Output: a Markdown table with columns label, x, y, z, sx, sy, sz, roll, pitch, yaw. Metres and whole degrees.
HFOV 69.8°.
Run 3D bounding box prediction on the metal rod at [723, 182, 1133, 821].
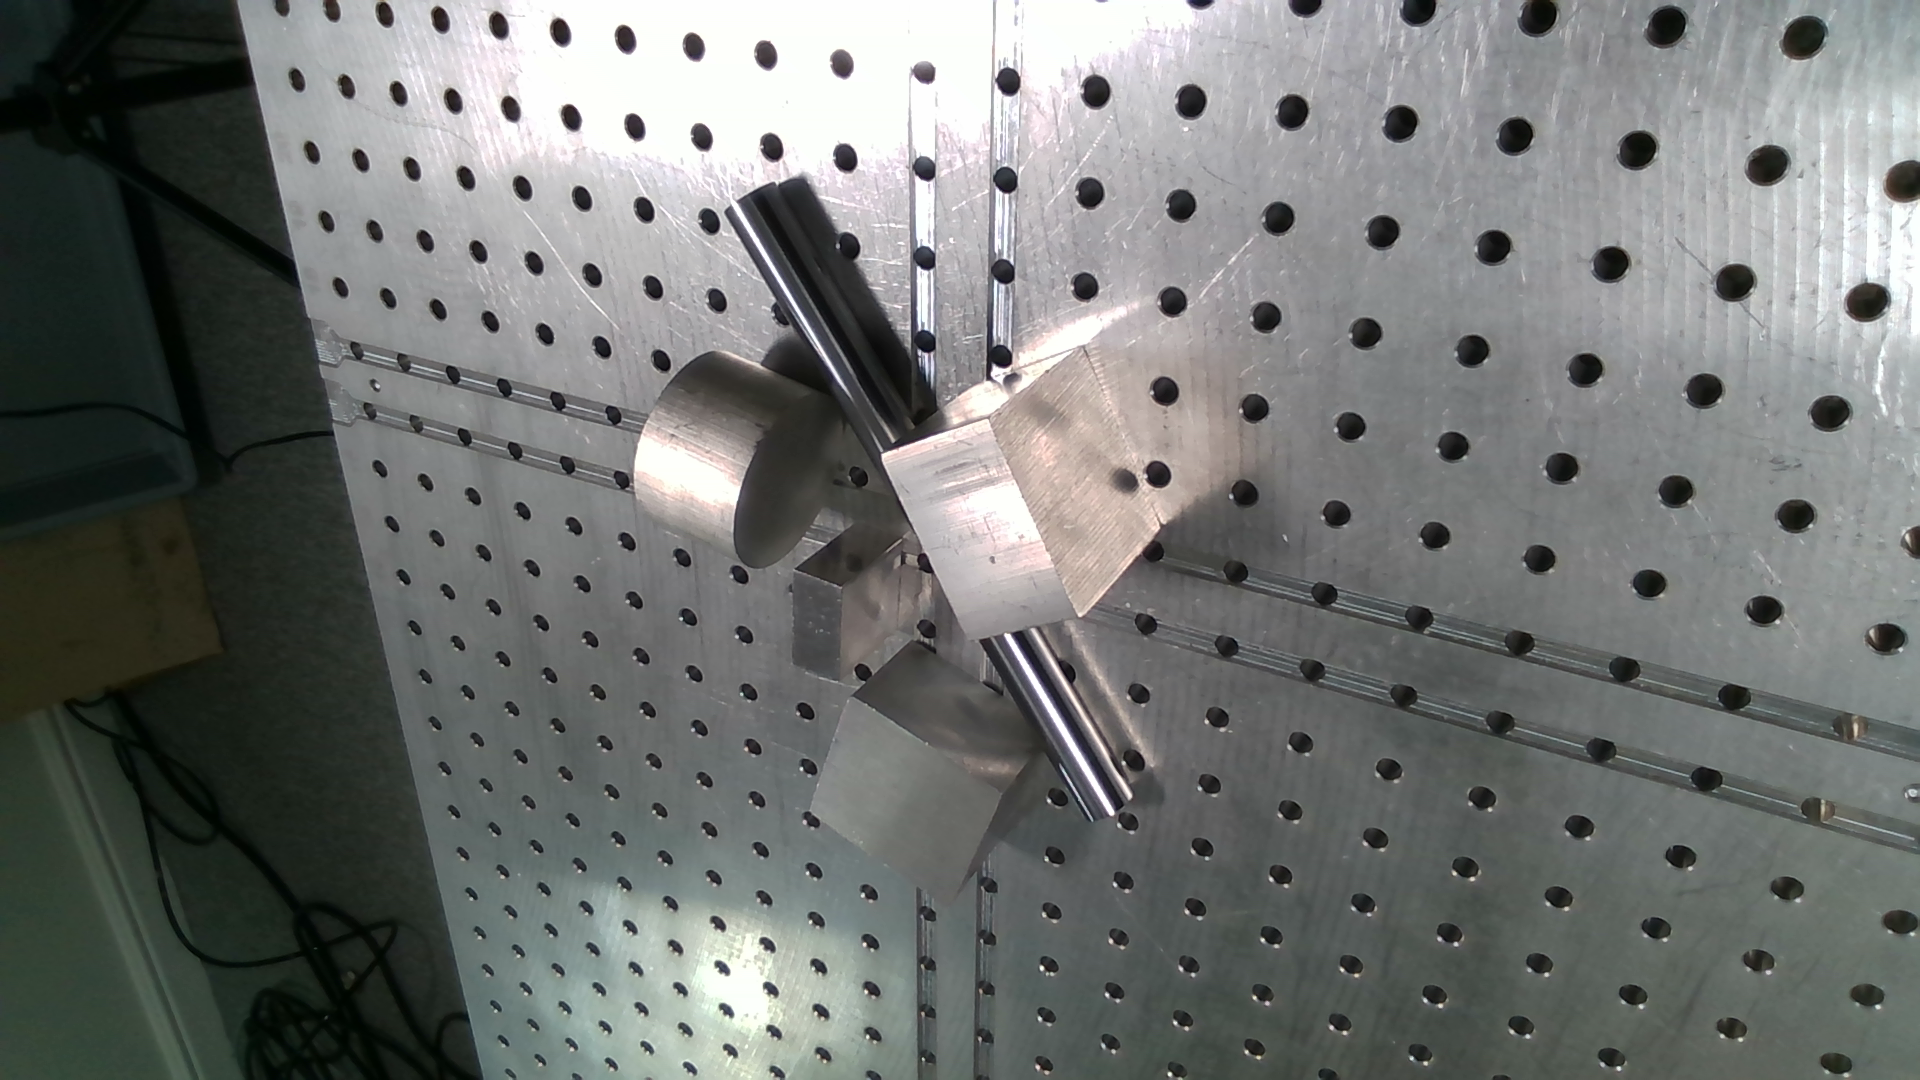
| label | x | y | z | sx | sy | sz | roll | pitch | yaw |
| --- | --- | --- | --- | --- | --- | --- | --- | --- | --- |
| metal rod | -0.010 | -0.011 | 0.582 | 0.025 | 0.025 | 0.300 | -23 | 102 | 38 |

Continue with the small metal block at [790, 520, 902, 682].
| label | x | y | z | sx | sy | sz | roll | pitch | yaw |
| --- | --- | --- | --- | --- | --- | --- | --- | --- | --- |
| small metal block | -0.051 | 0.026 | 0.613 | 0.025 | 0.050 | 0.050 | 19 | 124 | 22 |

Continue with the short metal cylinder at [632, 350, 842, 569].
| label | x | y | z | sx | sy | sz | roll | pitch | yaw |
| --- | --- | --- | --- | --- | --- | --- | --- | --- | --- |
| short metal cylinder | -0.093 | -0.034 | 0.585 | 0.050 | 0.080 | 0.080 | 25 | 126 | 18 |

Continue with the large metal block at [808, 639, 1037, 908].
| label | x | y | z | sx | sy | sz | roll | pitch | yaw |
| --- | --- | --- | --- | --- | --- | --- | --- | --- | --- |
| large metal block | -0.015 | 0.107 | 0.631 | 0.080 | 0.050 | 0.080 | 31 | 127 | 14 |

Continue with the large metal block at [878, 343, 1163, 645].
| label | x | y | z | sx | sy | sz | roll | pitch | yaw |
| --- | --- | --- | --- | --- | --- | --- | --- | --- | --- |
| large metal block | 0.026 | -0.018 | 0.523 | 0.050 | 0.080 | 0.080 | -16 | 106 | 37 |
